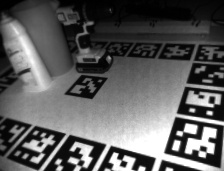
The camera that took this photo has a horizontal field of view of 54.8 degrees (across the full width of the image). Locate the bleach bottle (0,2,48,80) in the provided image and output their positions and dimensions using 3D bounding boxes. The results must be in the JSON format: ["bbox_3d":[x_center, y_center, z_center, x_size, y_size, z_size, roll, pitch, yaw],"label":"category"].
[{"bbox_3d":[-0.291,-0.130,0.652,0.101,0.253,0.068,2,43,23],"label":"bleach bottle"}]

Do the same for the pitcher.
[{"bbox_3d":[-0.232,-0.181,0.723,0.188,0.245,0.132,-11,41,8],"label":"pitcher"}]

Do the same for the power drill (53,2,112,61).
[{"bbox_3d":[-0.075,-0.164,0.665,0.183,0.188,0.057,8,48,19],"label":"power drill"}]
